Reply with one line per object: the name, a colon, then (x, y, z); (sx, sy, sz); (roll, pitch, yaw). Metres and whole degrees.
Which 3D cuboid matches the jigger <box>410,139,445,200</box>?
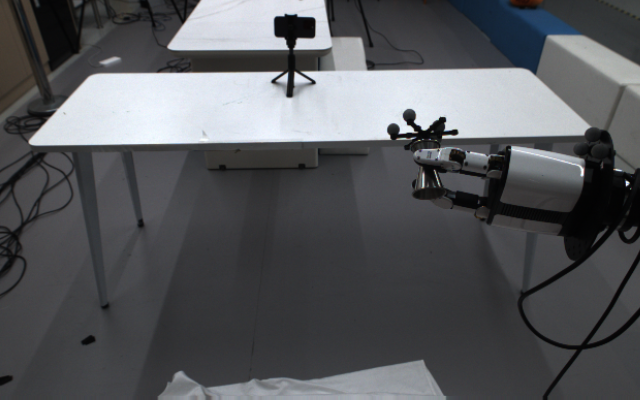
jigger: (0.138, -0.042, 0.625); (0.043, 0.043, 0.071); (1, 70, -2)
